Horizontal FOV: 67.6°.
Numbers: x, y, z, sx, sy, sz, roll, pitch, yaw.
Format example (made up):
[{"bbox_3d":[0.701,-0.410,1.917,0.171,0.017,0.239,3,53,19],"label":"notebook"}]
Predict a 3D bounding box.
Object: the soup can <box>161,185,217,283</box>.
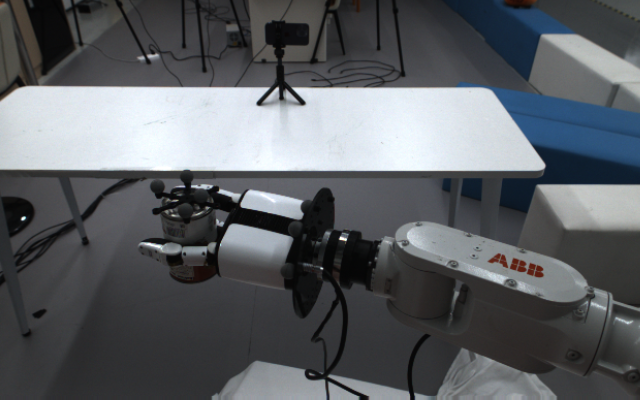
[{"bbox_3d":[-0.163,0.049,0.619,0.067,0.101,0.067,2,32,-1],"label":"soup can"}]
